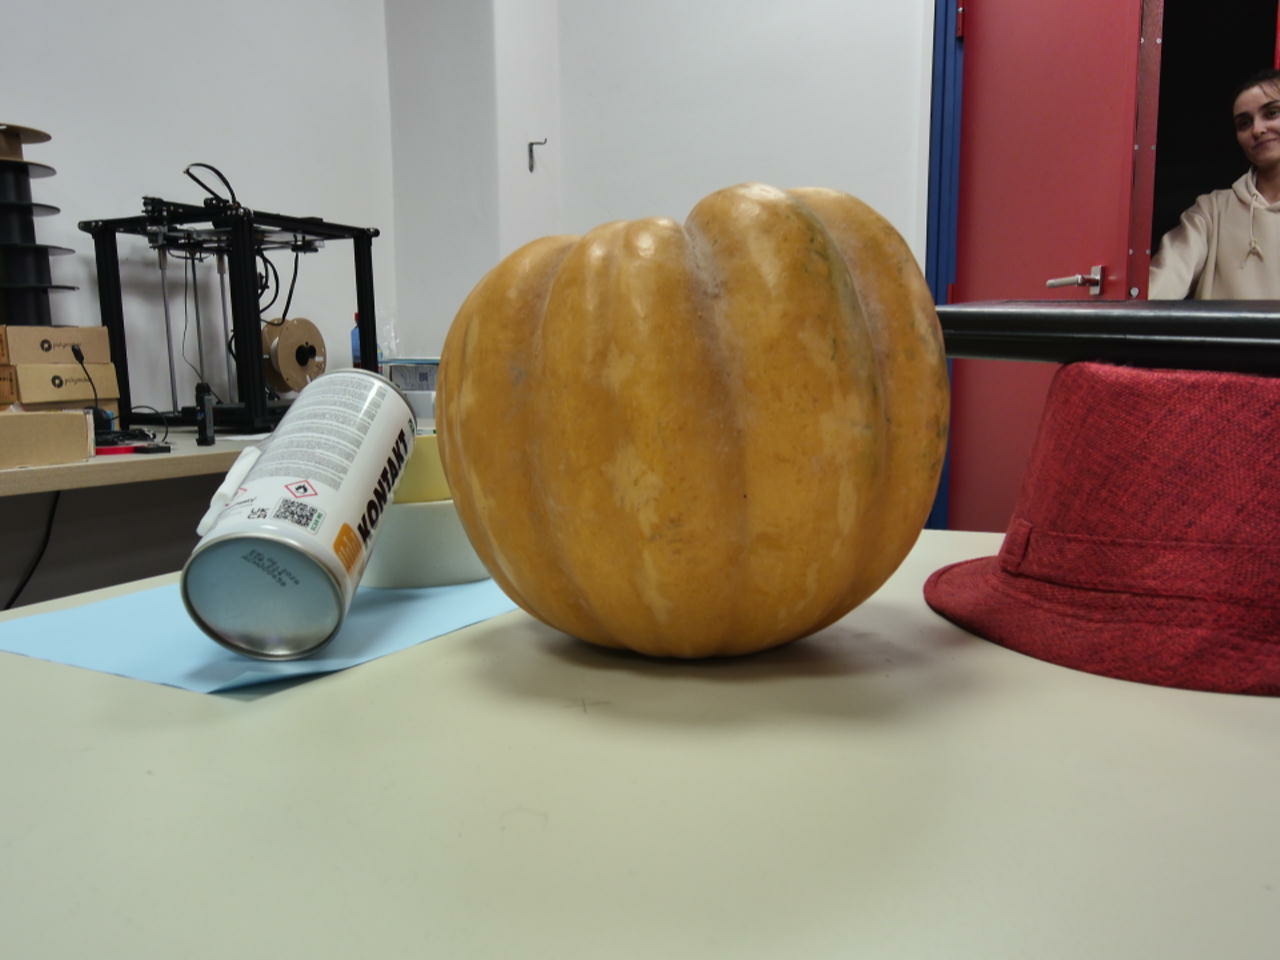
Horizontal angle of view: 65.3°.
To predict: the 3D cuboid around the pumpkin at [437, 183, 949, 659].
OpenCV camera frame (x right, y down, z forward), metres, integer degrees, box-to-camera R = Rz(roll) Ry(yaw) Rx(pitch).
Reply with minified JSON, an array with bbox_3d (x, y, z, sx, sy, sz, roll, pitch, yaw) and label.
[{"bbox_3d":[0.024,-0.023,0.444,0.230,0.194,0.230,0,3,0],"label":"pumpkin"}]
